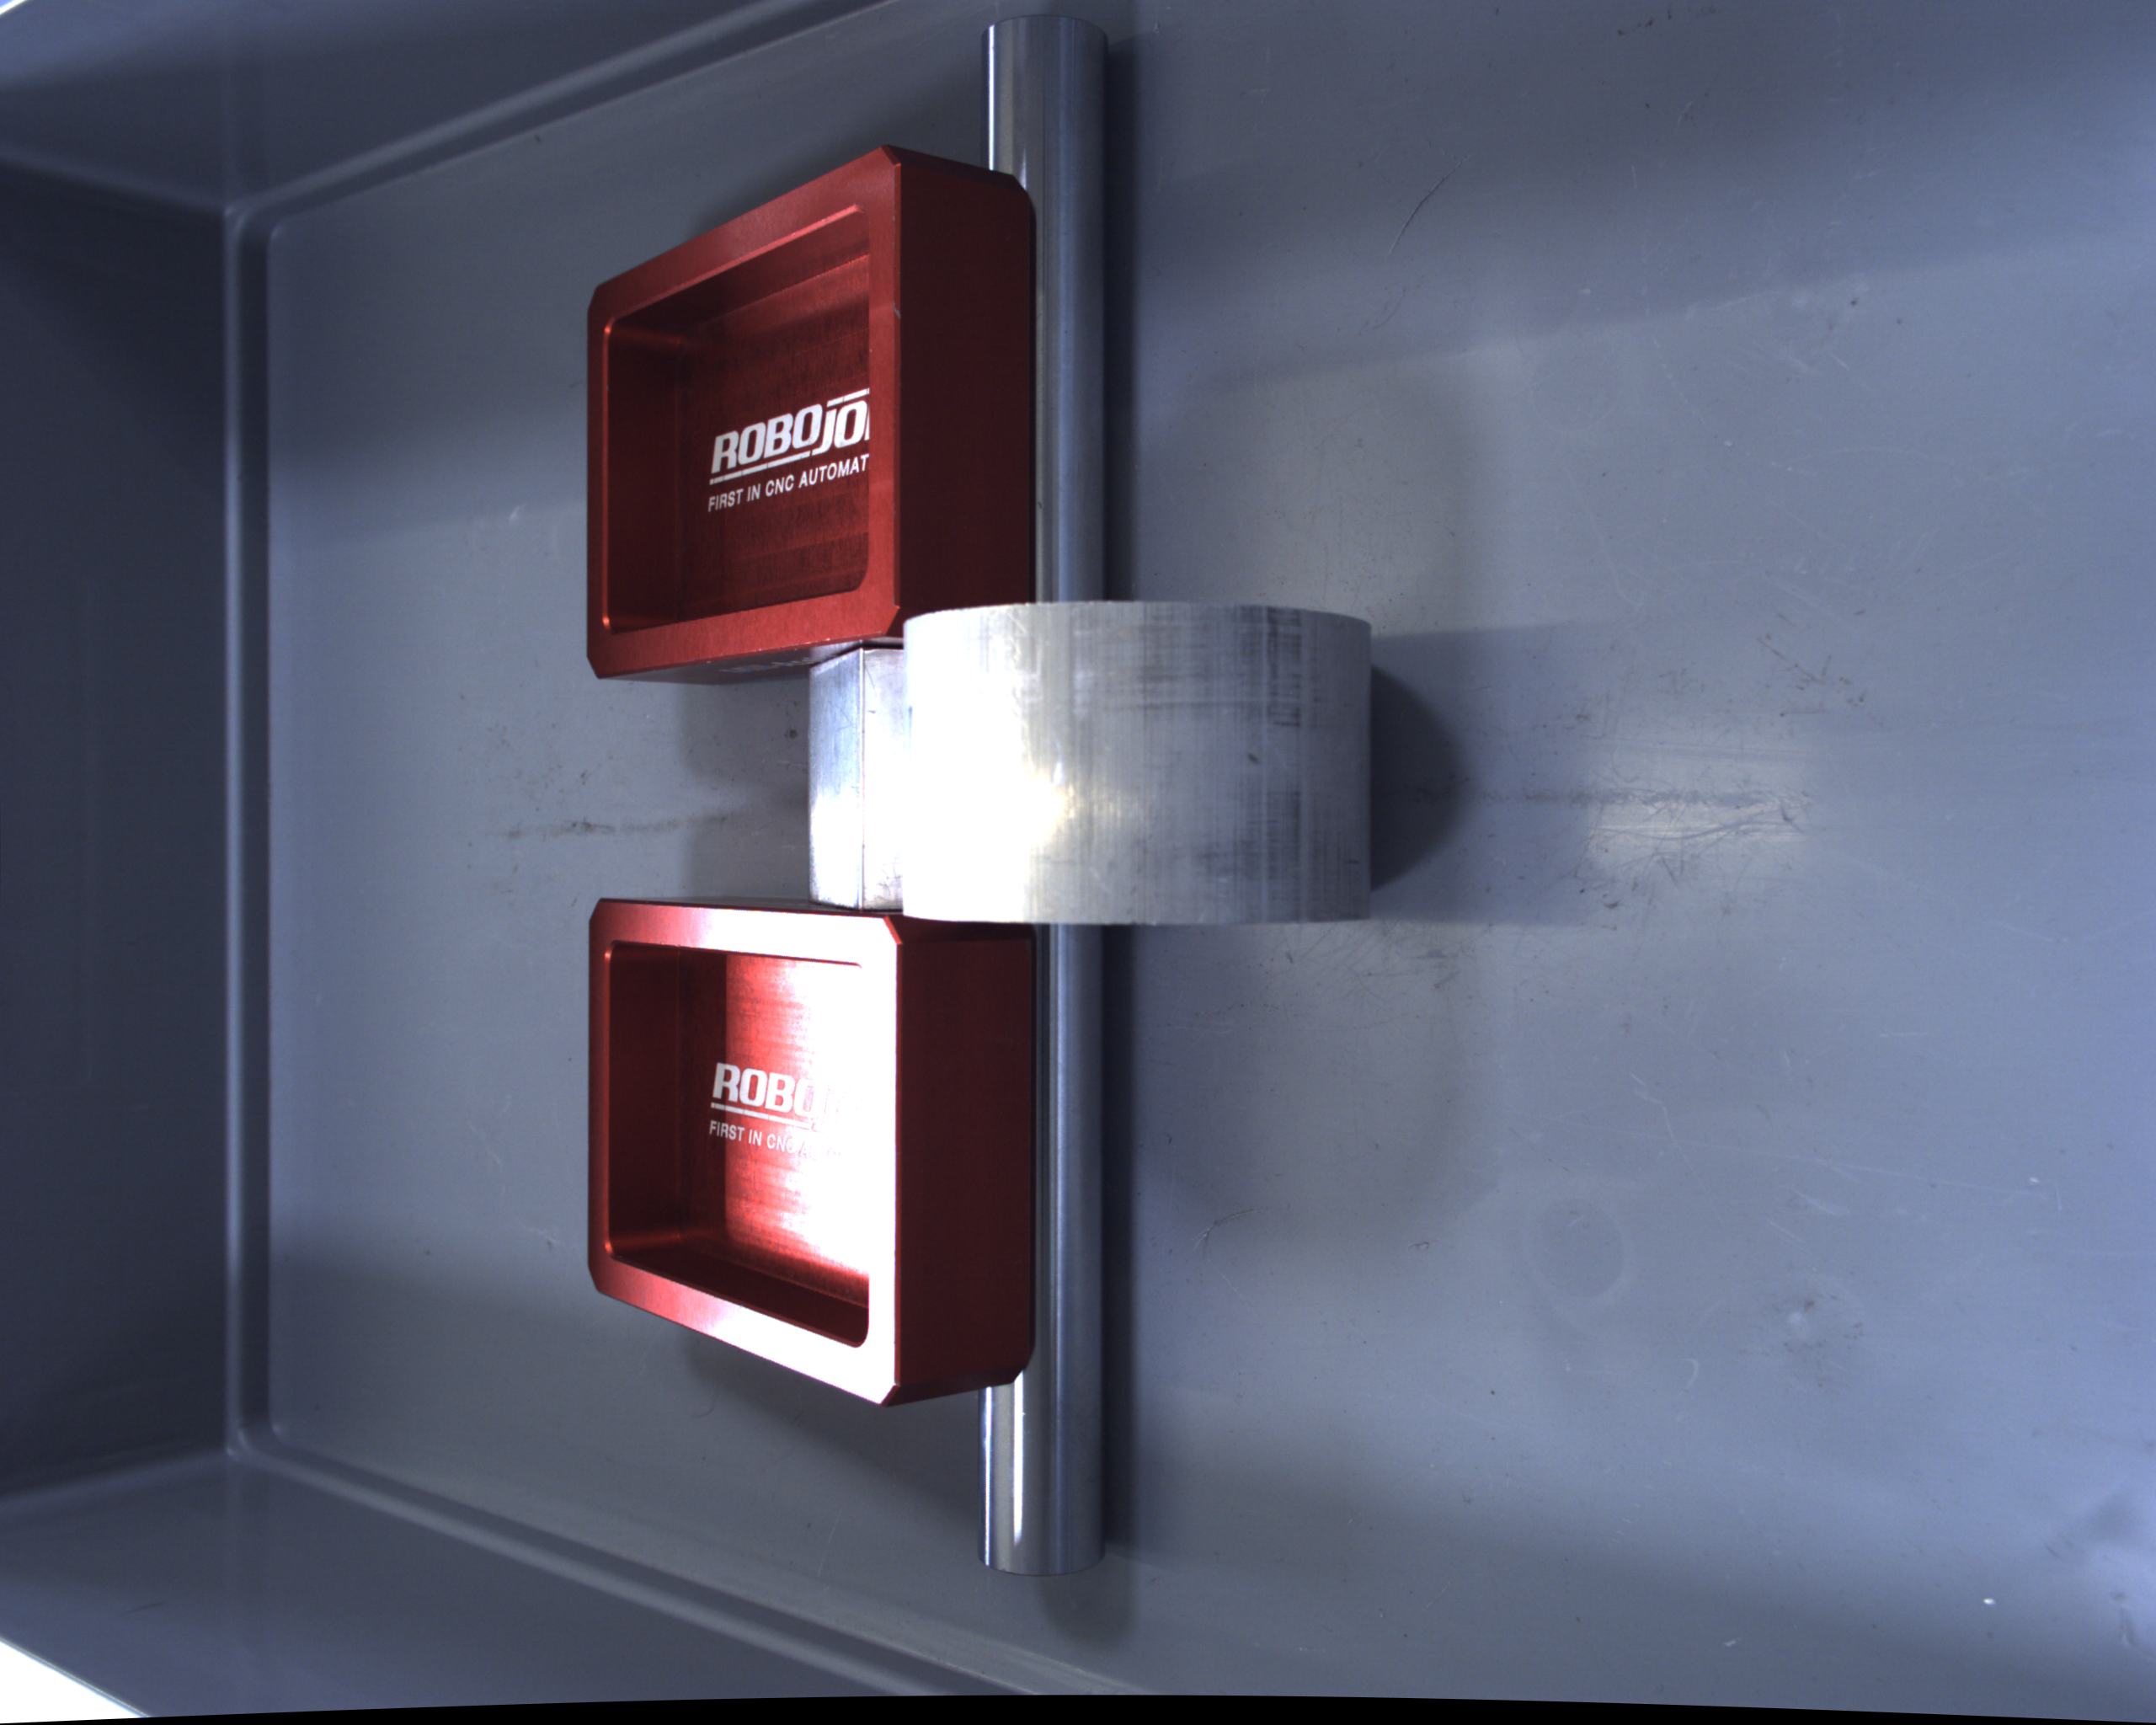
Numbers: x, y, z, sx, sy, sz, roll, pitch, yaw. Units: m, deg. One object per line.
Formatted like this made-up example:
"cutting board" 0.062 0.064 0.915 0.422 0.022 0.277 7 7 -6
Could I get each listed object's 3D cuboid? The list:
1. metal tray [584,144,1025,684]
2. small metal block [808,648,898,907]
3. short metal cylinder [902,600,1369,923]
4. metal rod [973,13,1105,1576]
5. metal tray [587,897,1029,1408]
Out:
"metal tray" -0.061 -0.086 0.434 0.130 0.030 0.089 0 90 52
"small metal block" -0.037 -0.016 0.421 0.050 0.025 0.050 -177 88 -71
"short metal cylinder" 0.010 -0.016 0.361 0.080 0.081 0.050 0 90 40
"metal rod" -0.008 -0.013 0.410 0.025 0.025 0.298 0 90 40
"metal tray" -0.060 0.053 0.433 0.130 0.030 0.089 1 91 52
